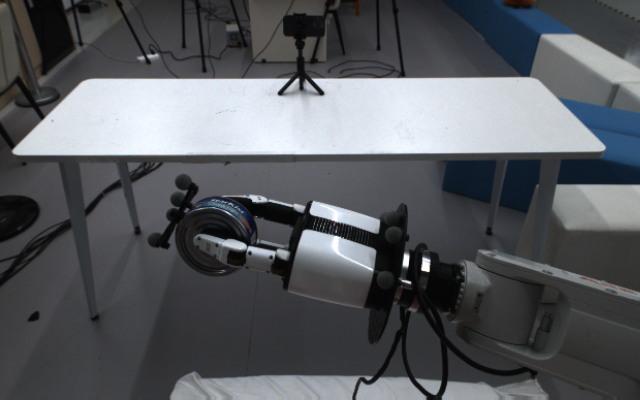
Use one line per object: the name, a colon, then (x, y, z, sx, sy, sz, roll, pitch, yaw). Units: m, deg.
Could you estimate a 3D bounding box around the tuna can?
tuna can: (-0.110, 0.045, 0.535, 0.085, 0.085, 0.034, 4, 21, 2)
